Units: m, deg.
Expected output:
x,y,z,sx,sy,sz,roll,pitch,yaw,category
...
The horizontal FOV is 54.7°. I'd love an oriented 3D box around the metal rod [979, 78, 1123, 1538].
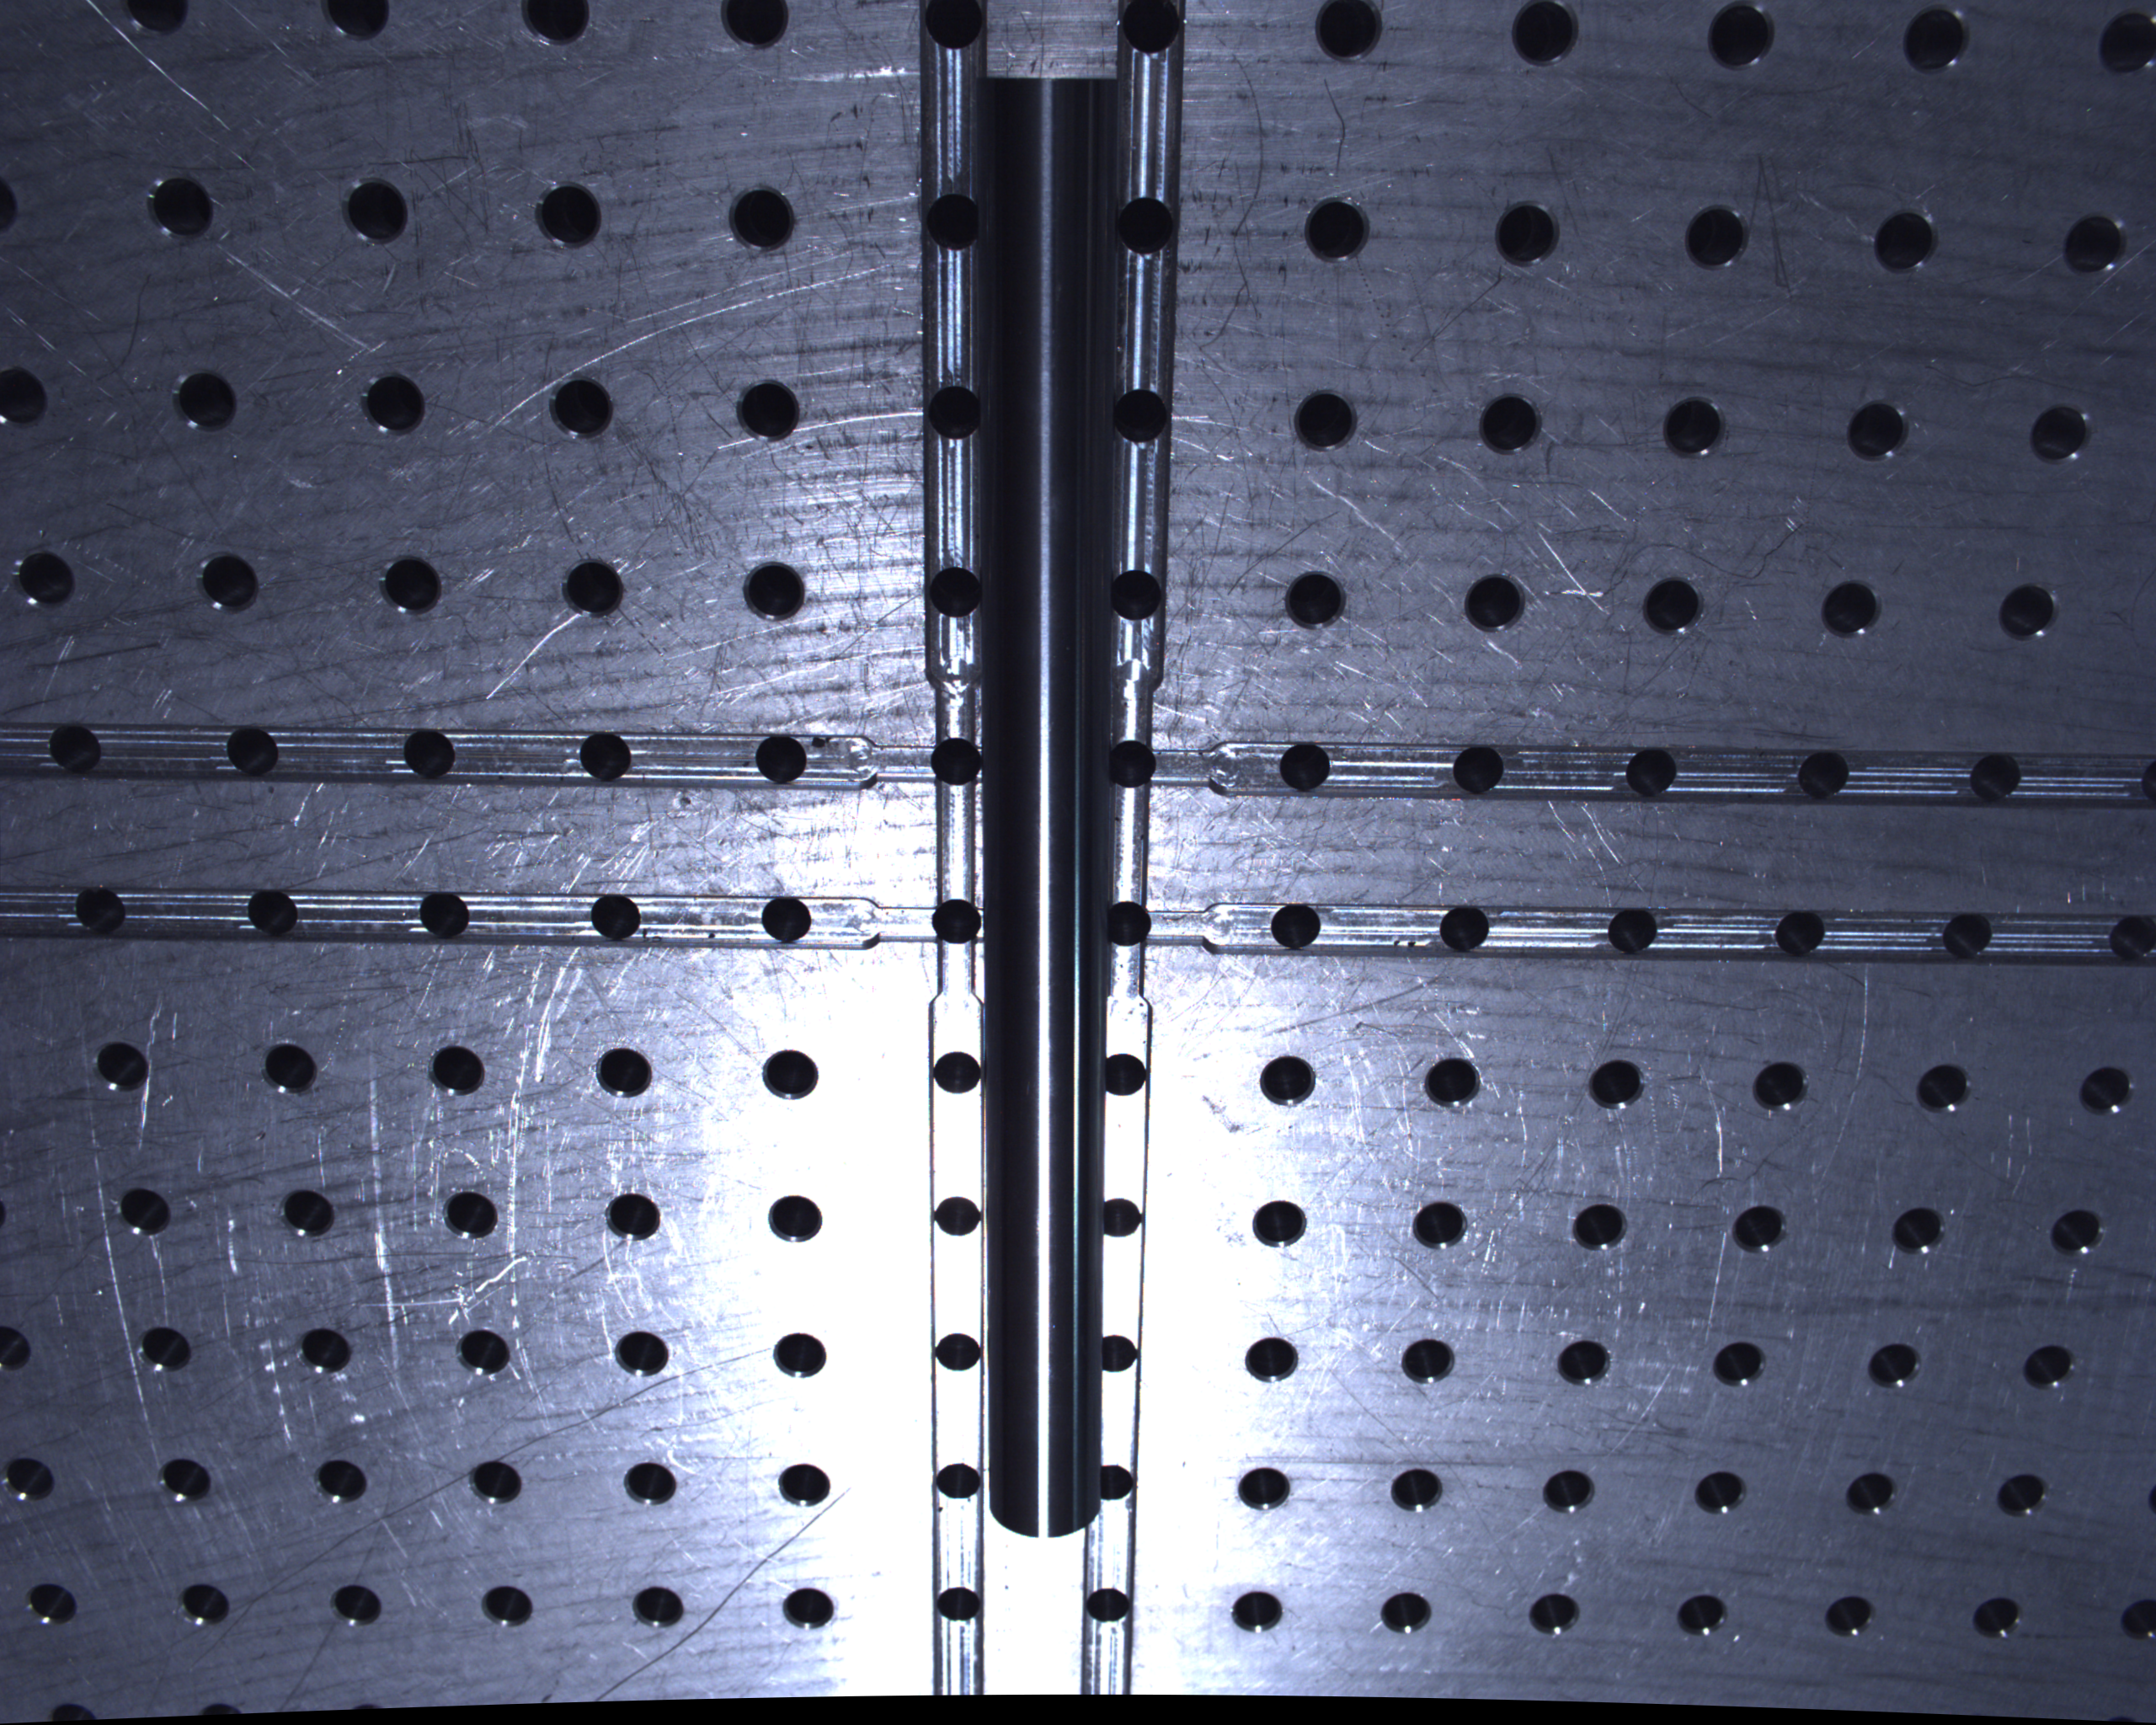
x,y,z,sx,sy,sz,roll,pitch,yaw,category
-0.006,0.003,0.414,0.025,0.025,0.298,0,110,-1,metal rod
